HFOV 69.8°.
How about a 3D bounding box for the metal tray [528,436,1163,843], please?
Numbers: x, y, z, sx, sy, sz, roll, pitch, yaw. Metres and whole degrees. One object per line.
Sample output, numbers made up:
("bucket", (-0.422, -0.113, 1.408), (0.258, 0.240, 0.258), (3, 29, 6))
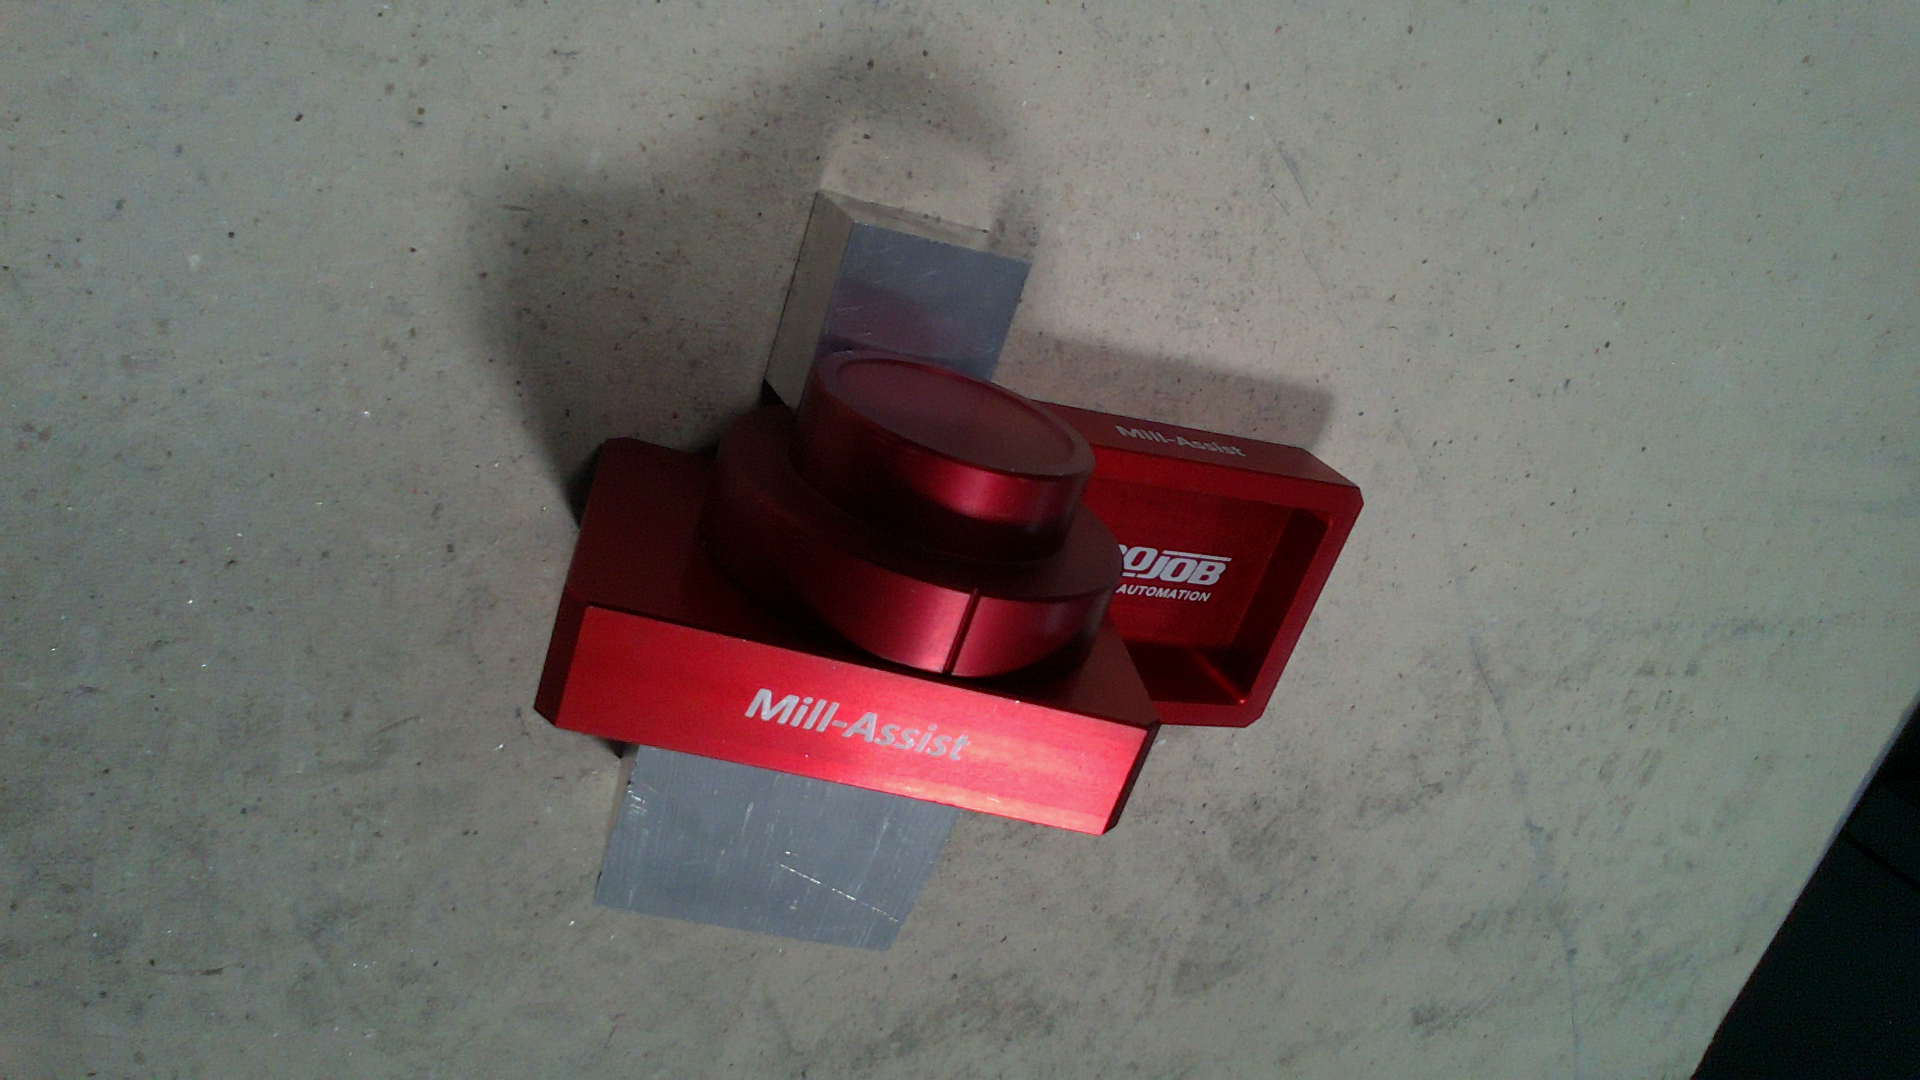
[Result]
("metal tray", (-0.026, 0.021, 0.324), (0.130, 0.090, 0.030), (15, 113, -14))

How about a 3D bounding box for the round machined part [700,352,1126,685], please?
("round machined part", (-0.007, -0.011, 0.318), (0.098, 0.098, 0.042), (6, 115, -31))

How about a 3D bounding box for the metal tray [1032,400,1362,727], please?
("metal tray", (0.051, 0.010, 0.420), (0.130, 0.030, 0.090), (6, 115, -31))

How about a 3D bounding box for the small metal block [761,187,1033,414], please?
("small metal block", (-0.016, -0.056, 0.347), (0.050, 0.025, 0.050), (6, 115, -31))

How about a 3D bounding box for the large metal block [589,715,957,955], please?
("large metal block", (-0.045, 0.058, 0.360), (0.080, 0.050, 0.080), (14, 125, -15))
